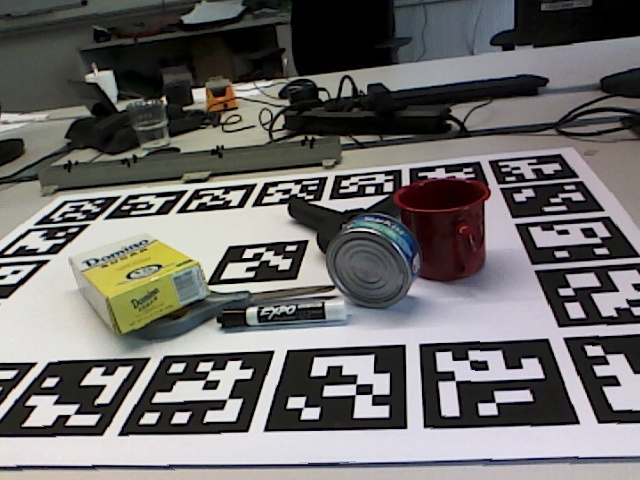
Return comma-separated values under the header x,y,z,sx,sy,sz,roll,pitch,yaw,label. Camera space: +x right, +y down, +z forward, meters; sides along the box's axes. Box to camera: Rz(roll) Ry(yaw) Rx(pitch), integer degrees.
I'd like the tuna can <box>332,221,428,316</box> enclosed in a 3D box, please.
x,y,z,sx,sy,sz,roll,pitch,yaw,label
0.055,0.028,0.578,0.086,0.085,0.033,4,28,24,tuna can

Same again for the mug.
x,y,z,sx,sy,sz,roll,pitch,yaw,label
0.120,0.004,0.618,0.093,0.081,0.118,-16,23,-16,mug

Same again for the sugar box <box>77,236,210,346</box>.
x,y,z,sx,sy,sz,roll,pitch,yaw,label
-0.191,0.046,0.651,0.092,0.045,0.177,-21,23,-24,sugar box

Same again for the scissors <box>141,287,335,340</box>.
x,y,z,sx,sy,sz,roll,pitch,yaw,label
-0.086,0.063,0.621,0.203,0.016,0.088,-7,22,-1,scissors

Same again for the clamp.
x,y,z,sx,sy,sz,roll,pitch,yaw,label
0.043,-0.004,0.726,0.165,0.036,0.203,-8,27,-1,clamp

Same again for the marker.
x,y,z,sx,sy,sz,roll,pitch,yaw,label
-0.045,0.080,0.578,0.121,0.019,0.020,-6,27,6,marker
